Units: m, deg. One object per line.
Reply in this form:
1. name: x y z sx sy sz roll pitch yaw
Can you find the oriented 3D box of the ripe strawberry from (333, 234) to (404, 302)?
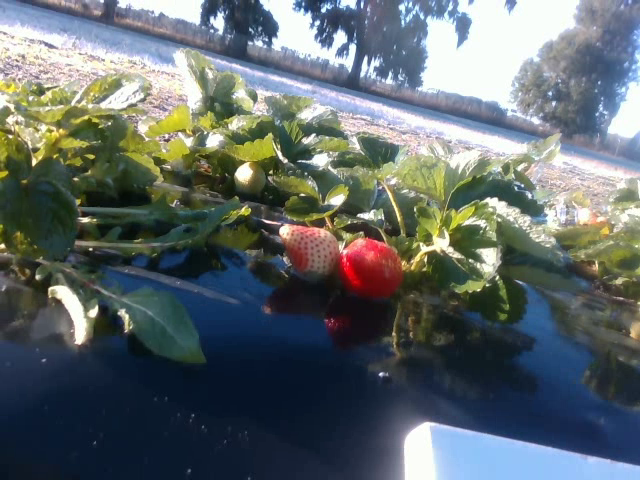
1. ripe strawberry: 0.029 0.011 0.330 0.040 0.038 0.056 -14 -28 0
